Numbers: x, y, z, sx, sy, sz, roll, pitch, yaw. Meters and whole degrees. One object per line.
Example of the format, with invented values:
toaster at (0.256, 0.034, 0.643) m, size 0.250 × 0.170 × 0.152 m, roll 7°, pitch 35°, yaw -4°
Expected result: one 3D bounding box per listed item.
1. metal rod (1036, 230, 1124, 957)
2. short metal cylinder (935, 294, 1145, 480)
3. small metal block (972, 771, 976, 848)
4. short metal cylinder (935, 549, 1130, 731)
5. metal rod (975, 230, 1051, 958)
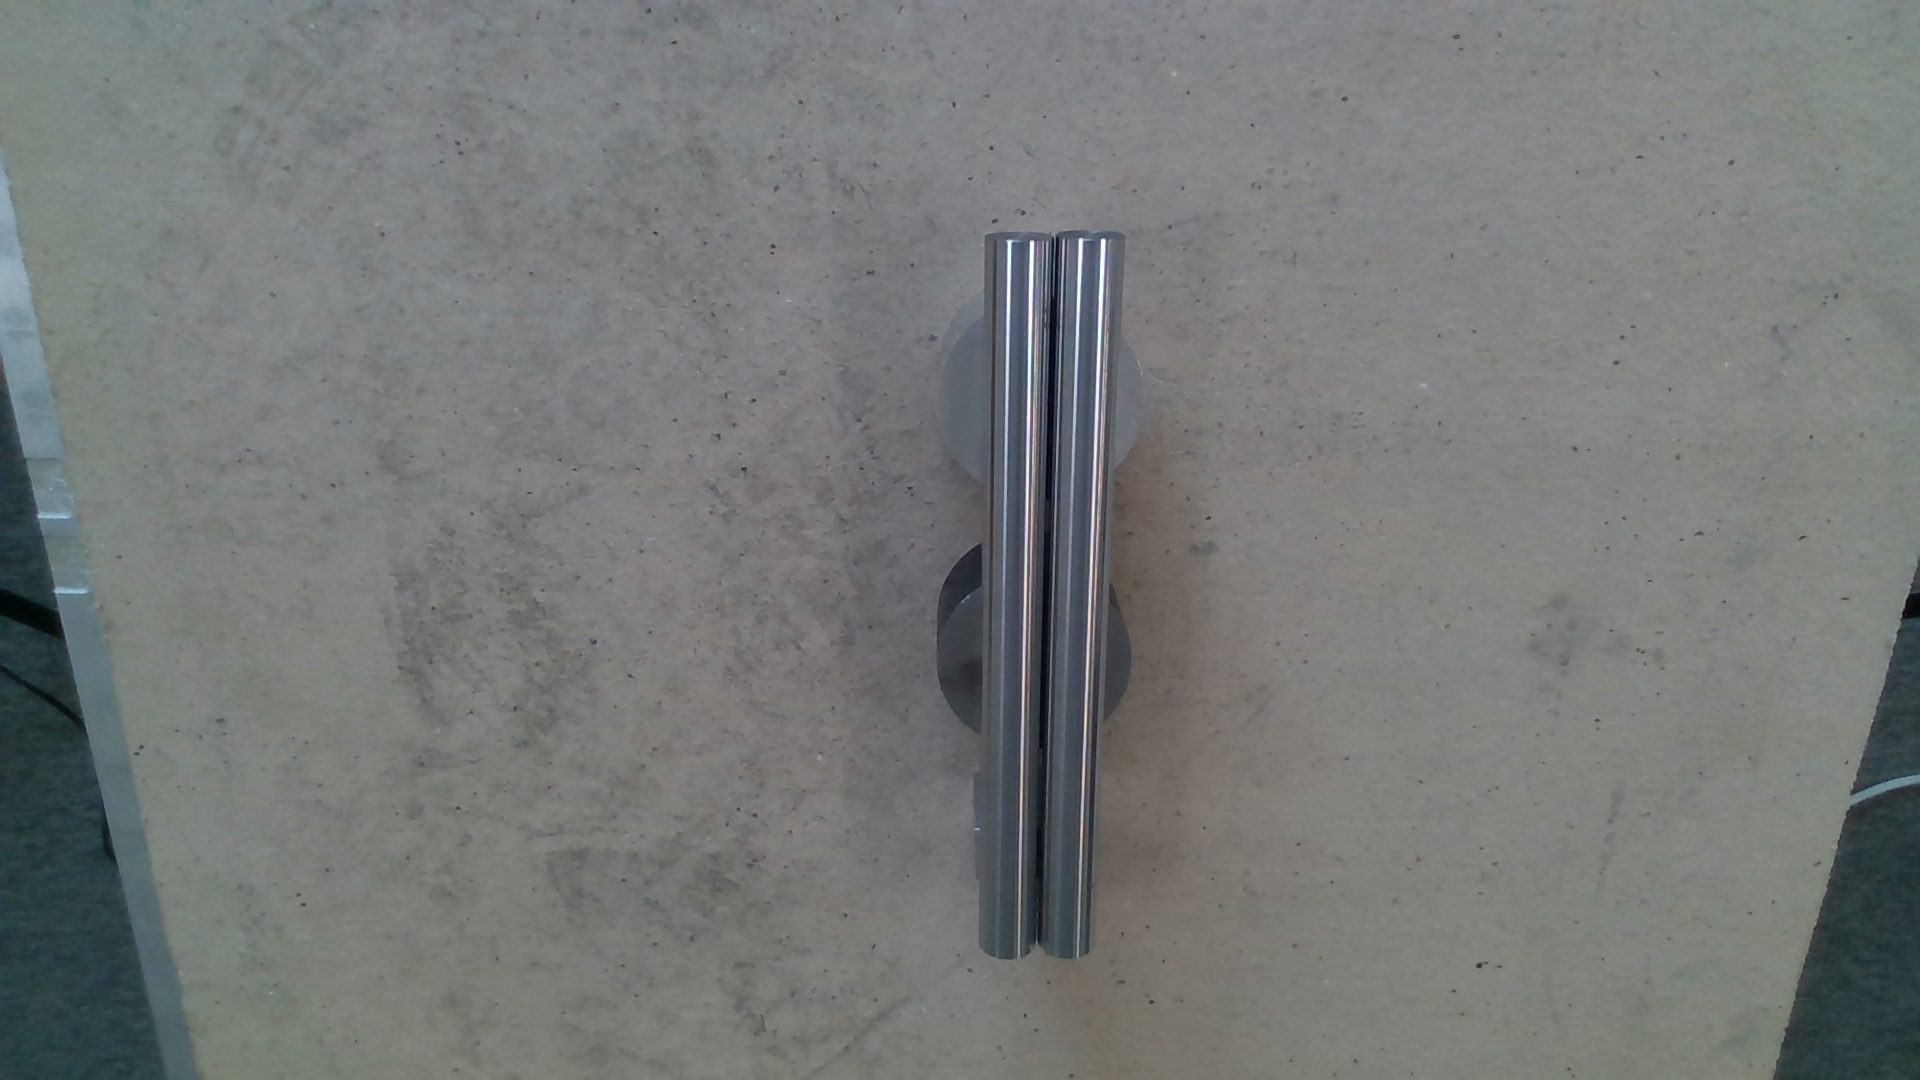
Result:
metal rod at (0.046, 0.032, 0.543) m, size 0.025 × 0.025 × 0.301 m, roll 0°, pitch 110°, yaw 0°
short metal cylinder at (0.030, -0.062, 0.548) m, size 0.080 × 0.050 × 0.080 m, roll 0°, pitch 110°, yaw 0°
small metal block at (0.031, 0.126, 0.620) m, size 0.050 × 0.050 × 0.025 m, roll -2°, pitch 110°, yaw 0°
short metal cylinder at (0.030, 0.041, 0.588) m, size 0.080 × 0.050 × 0.080 m, roll 0°, pitch 110°, yaw 0°
metal rod at (0.020, 0.032, 0.543) m, size 0.025 × 0.025 × 0.301 m, roll 0°, pitch 110°, yaw 0°
